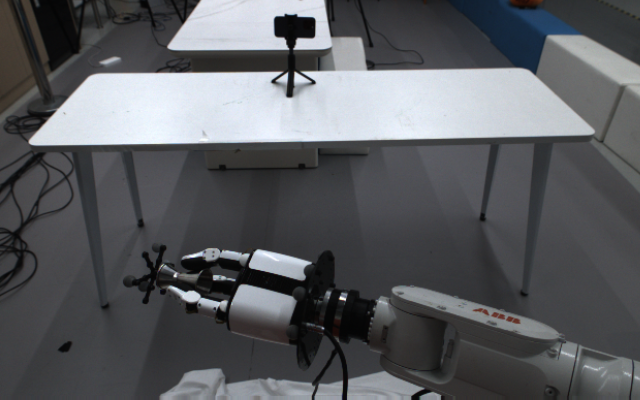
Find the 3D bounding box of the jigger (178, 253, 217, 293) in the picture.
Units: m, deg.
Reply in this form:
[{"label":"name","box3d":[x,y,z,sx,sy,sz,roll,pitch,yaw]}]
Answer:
[{"label":"jigger","box3d":[-0.189,0.108,0.697,0.071,0.043,0.043,5,34,18]}]
